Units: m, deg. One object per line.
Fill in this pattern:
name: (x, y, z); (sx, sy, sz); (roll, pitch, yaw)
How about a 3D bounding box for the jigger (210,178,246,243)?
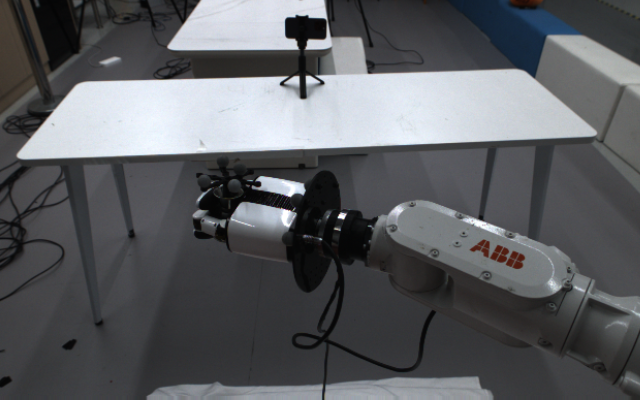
jigger: (-0.124, 0.019, 0.666); (0.043, 0.071, 0.043); (5, 26, -3)
